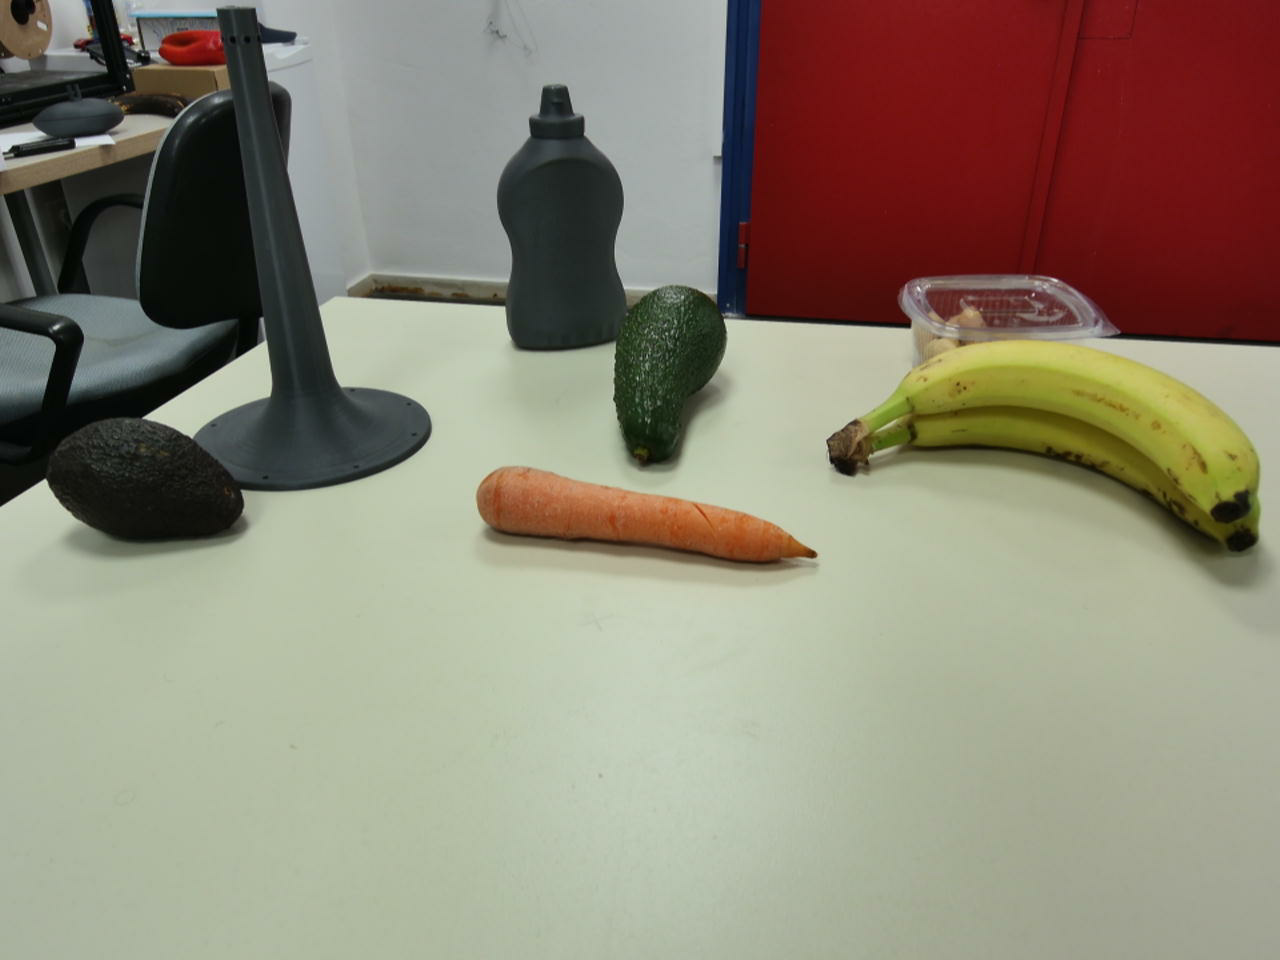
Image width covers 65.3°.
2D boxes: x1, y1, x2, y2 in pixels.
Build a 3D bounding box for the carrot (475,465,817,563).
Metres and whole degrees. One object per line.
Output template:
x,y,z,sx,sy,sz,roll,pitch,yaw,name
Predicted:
0.001,0.019,0.564,0.196,0.041,0.039,5,26,11,carrot
